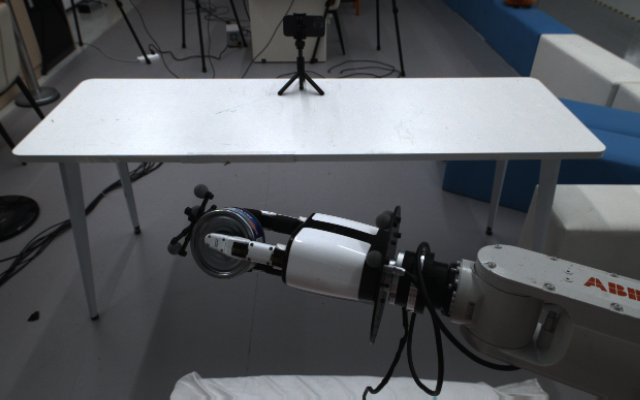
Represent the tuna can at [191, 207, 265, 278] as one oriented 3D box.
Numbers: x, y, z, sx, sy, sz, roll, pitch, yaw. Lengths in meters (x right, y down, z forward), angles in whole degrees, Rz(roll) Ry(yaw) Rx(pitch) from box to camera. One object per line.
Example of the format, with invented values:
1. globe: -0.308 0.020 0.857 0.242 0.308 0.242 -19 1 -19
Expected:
1. tuna can: -0.109 0.055 0.584 0.085 0.085 0.034 9 5 10
